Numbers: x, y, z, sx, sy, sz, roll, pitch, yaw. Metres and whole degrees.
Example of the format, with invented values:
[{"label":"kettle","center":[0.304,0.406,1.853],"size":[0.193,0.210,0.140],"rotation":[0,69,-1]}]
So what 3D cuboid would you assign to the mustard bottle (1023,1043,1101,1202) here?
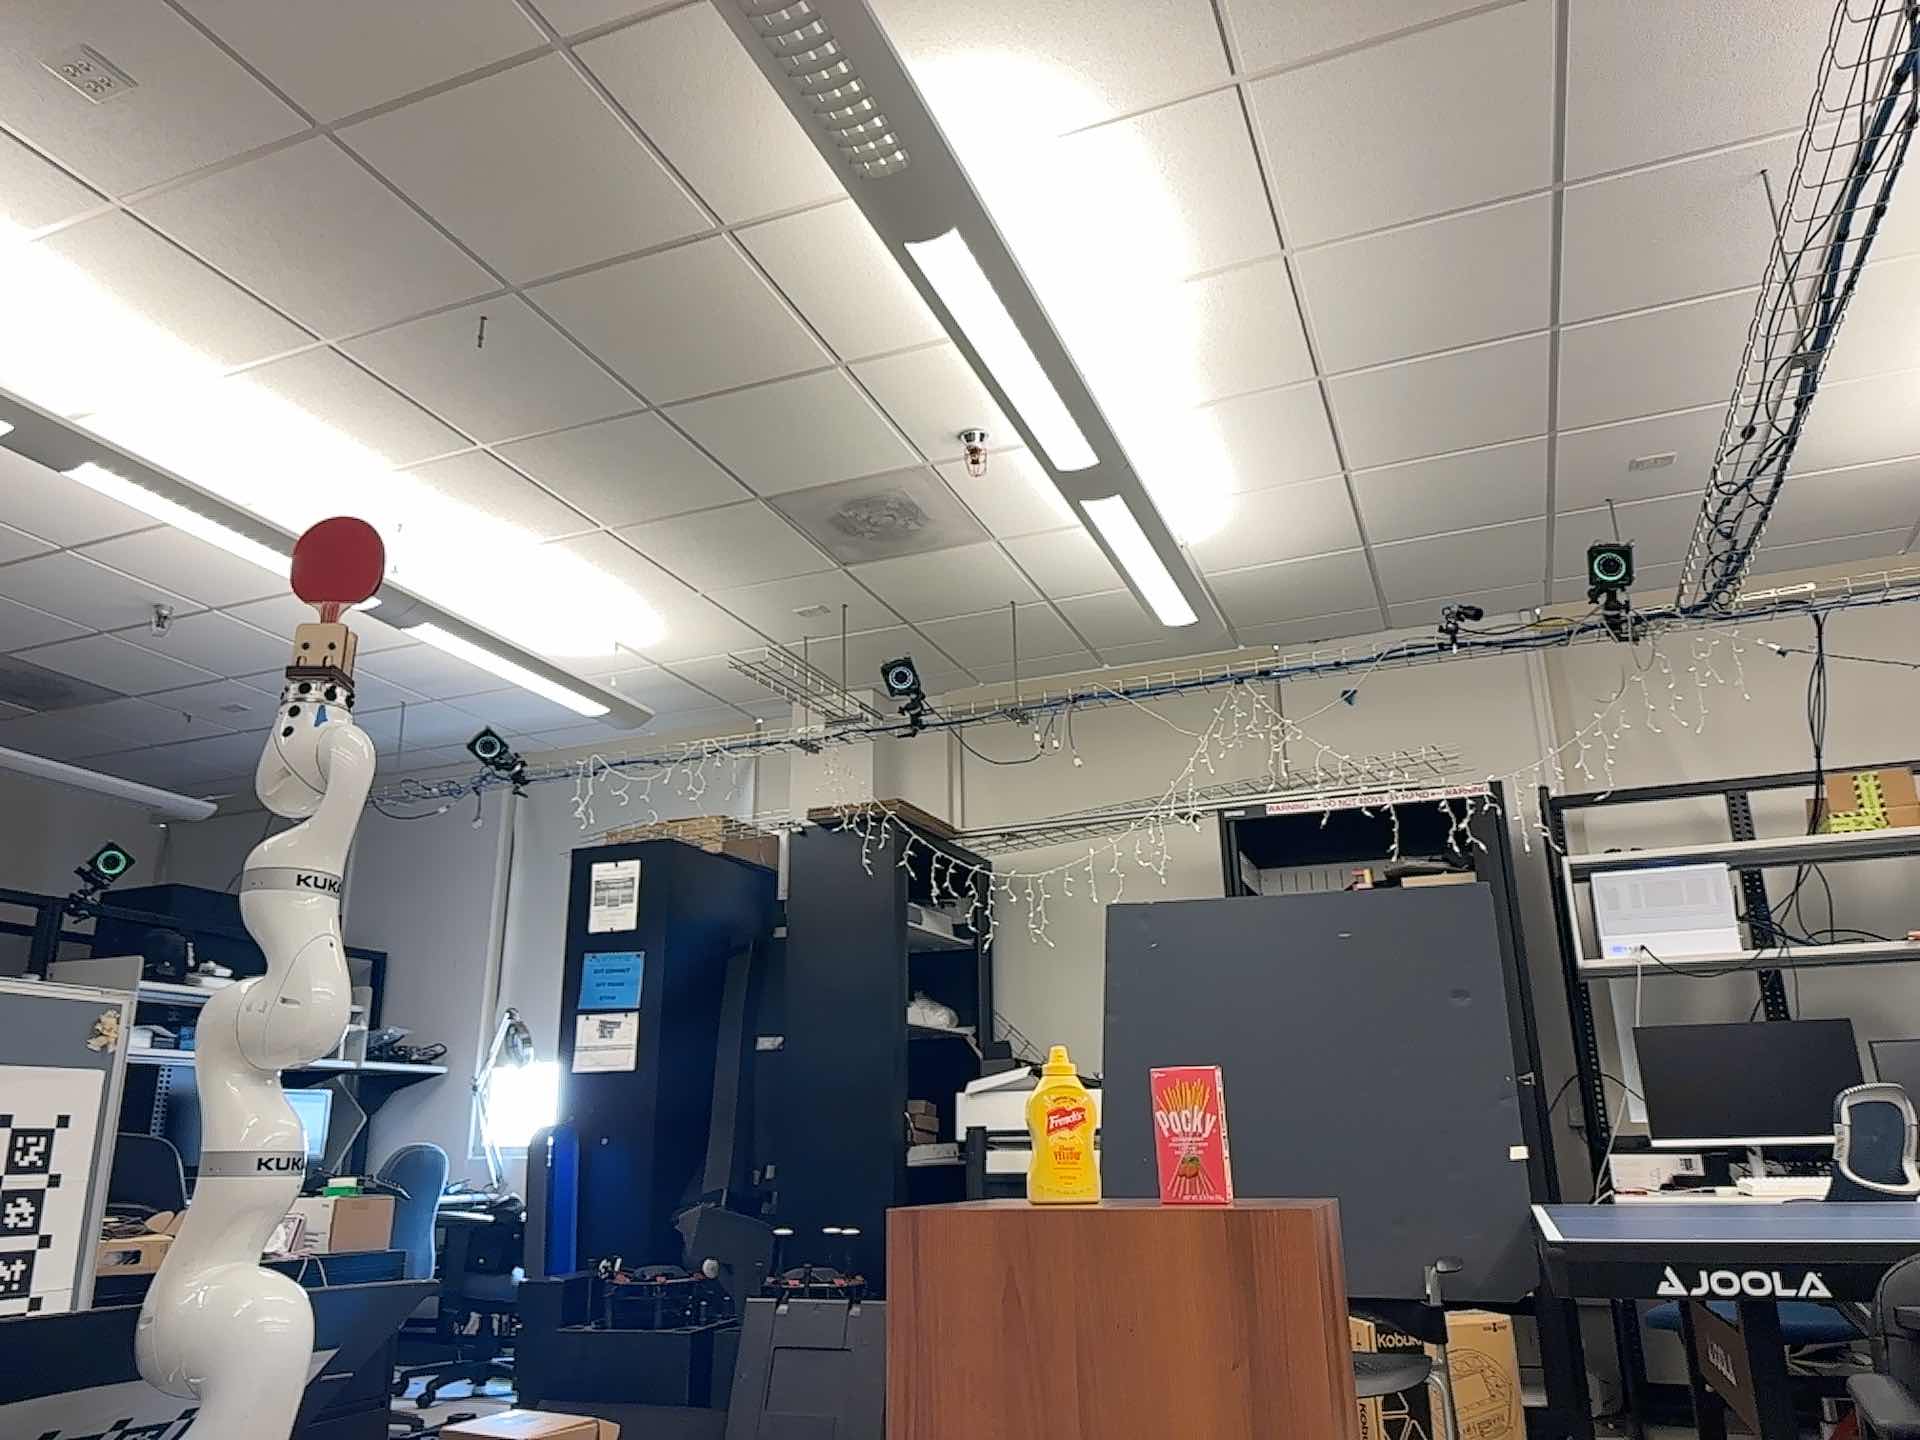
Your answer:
[{"label":"mustard bottle","center":[0.121,0.488,1.642],"size":[0.092,0.184,0.054],"rotation":[1,-18,-5]}]

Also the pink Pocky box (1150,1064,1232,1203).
[{"label":"pink Pocky box","center":[0.272,0.489,1.597],"size":[0.084,0.154,0.029],"rotation":[-10,-21,27]}]
